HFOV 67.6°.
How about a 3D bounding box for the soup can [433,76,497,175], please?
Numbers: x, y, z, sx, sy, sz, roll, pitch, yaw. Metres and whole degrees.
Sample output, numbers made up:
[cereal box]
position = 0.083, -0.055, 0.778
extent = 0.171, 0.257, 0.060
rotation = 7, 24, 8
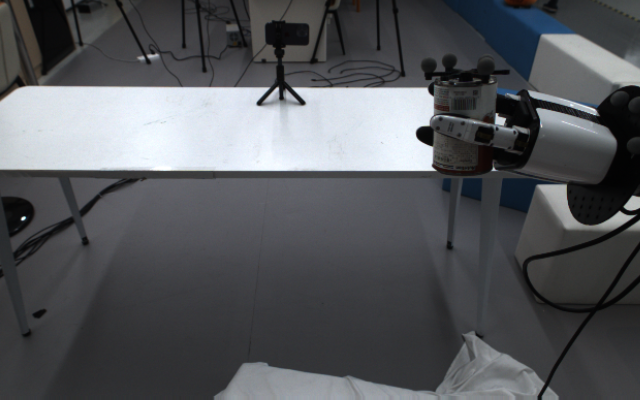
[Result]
[soup can]
position = 0.164, -0.086, 0.546
extent = 0.067, 0.101, 0.067
rotation = -4, 21, 2
